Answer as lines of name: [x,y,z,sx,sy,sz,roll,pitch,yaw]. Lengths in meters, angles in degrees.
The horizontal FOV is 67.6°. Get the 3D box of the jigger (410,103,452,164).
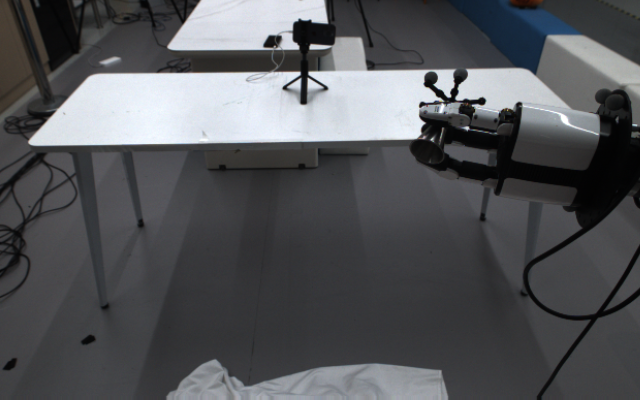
jigger: [0.141,-0.087,0.589,0.043,0.043,0.071,19,61,23]
